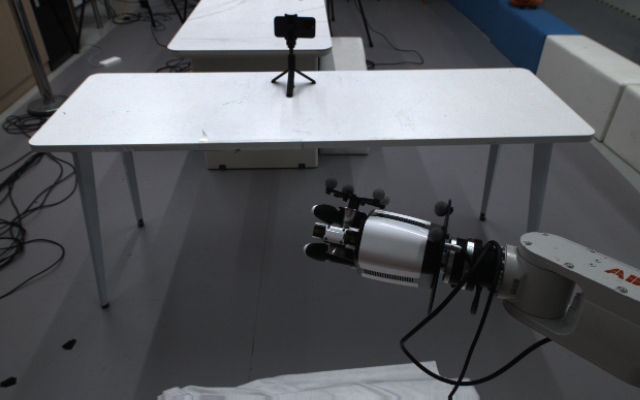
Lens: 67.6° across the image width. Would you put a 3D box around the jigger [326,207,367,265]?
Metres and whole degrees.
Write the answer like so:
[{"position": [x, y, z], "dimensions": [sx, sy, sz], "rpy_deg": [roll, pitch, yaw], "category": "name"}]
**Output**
[{"position": [0.039, 0.046, 0.677], "dimensions": [0.043, 0.071, 0.043], "rpy_deg": [16, -7, 2], "category": "jigger"}]
